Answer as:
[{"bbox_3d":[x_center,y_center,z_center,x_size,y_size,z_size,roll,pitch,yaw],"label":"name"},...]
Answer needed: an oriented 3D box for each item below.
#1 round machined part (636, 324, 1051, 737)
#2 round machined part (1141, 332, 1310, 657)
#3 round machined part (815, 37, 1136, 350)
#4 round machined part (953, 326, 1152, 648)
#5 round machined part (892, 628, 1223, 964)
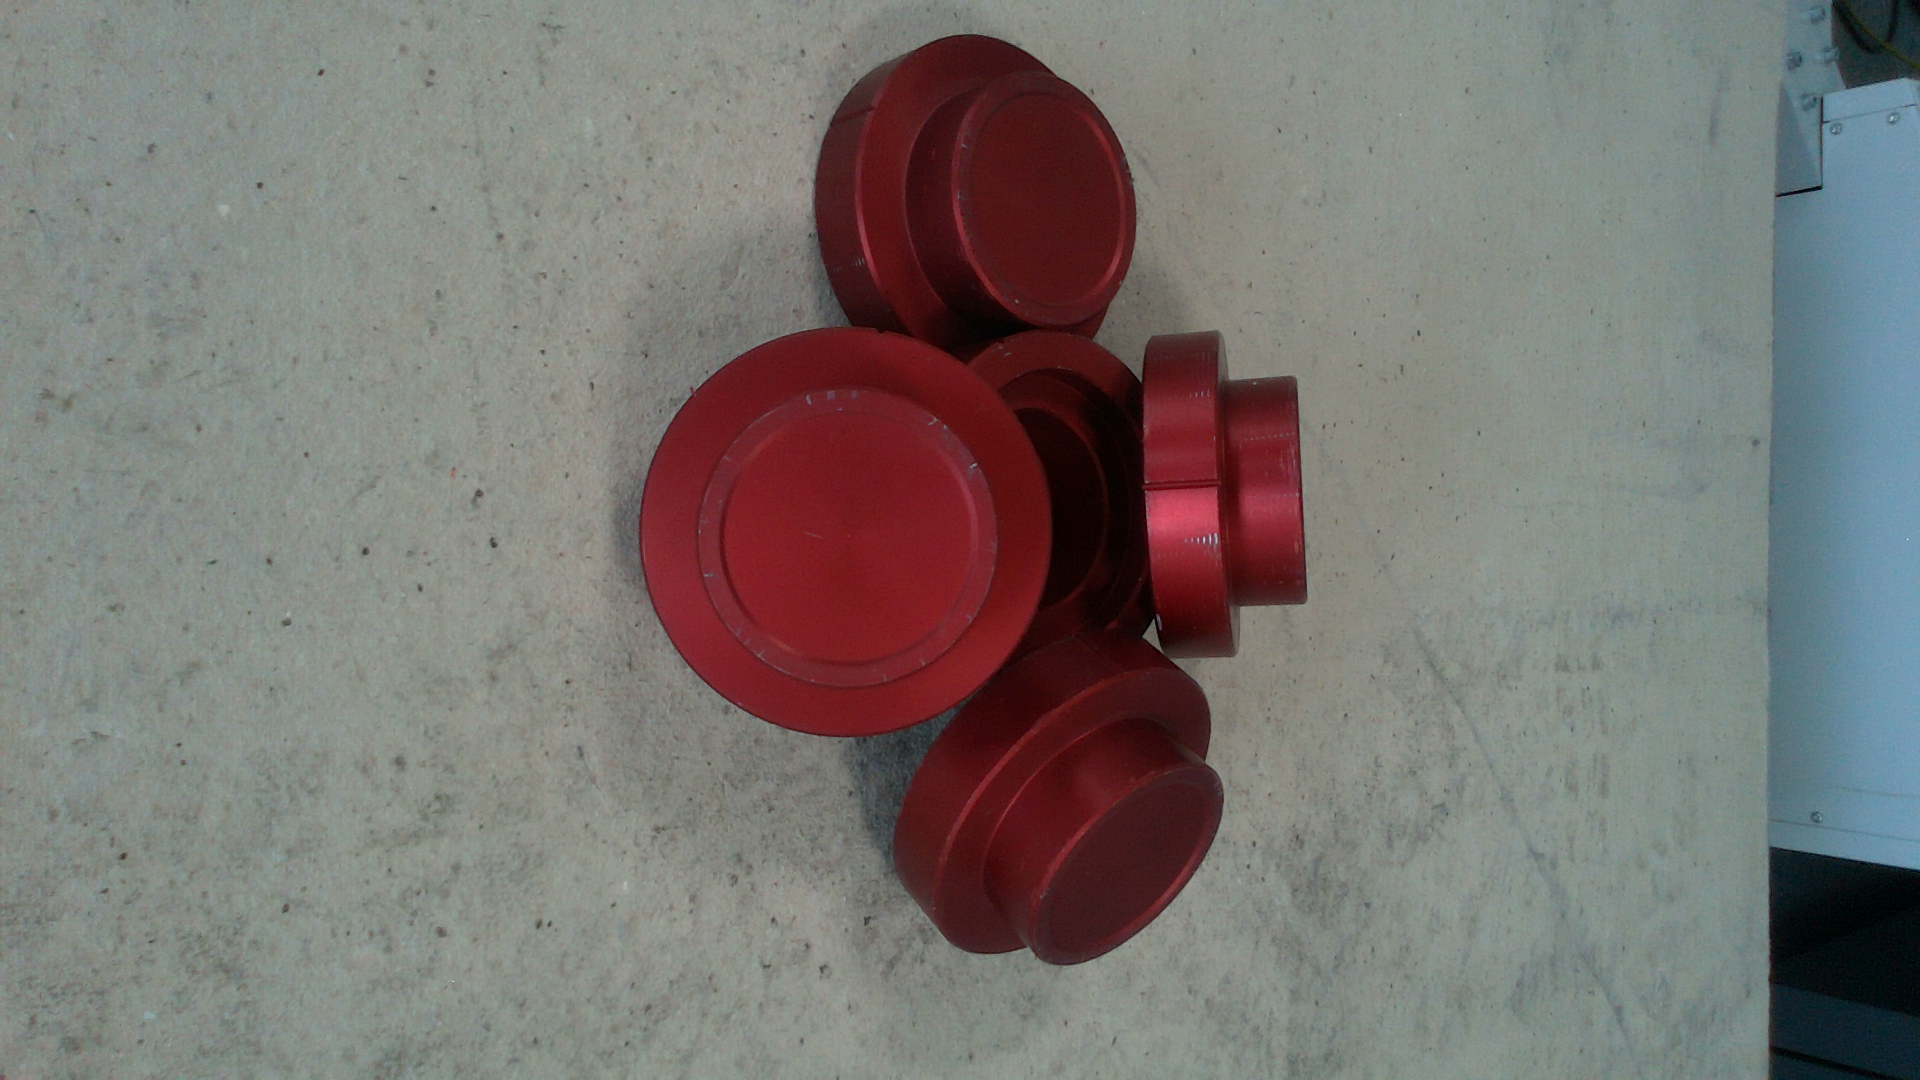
[{"bbox_3d":[-0.027,-0.002,0.325,0.098,0.042,0.098,0,94,-7],"label":"round machined part"},{"bbox_3d":[0.082,-0.014,0.413,0.098,0.042,0.098,-3,90,-76],"label":"round machined part"},{"bbox_3d":[0.011,-0.092,0.387,0.098,0.042,0.098,2,87,-39],"label":"round machined part"},{"bbox_3d":[0.015,-0.009,0.390,0.098,0.042,0.098,1,88,-38],"label":"round machined part"},{"bbox_3d":[0.033,0.076,0.378,0.098,0.042,0.098,-24,134,-27],"label":"round machined part"}]
